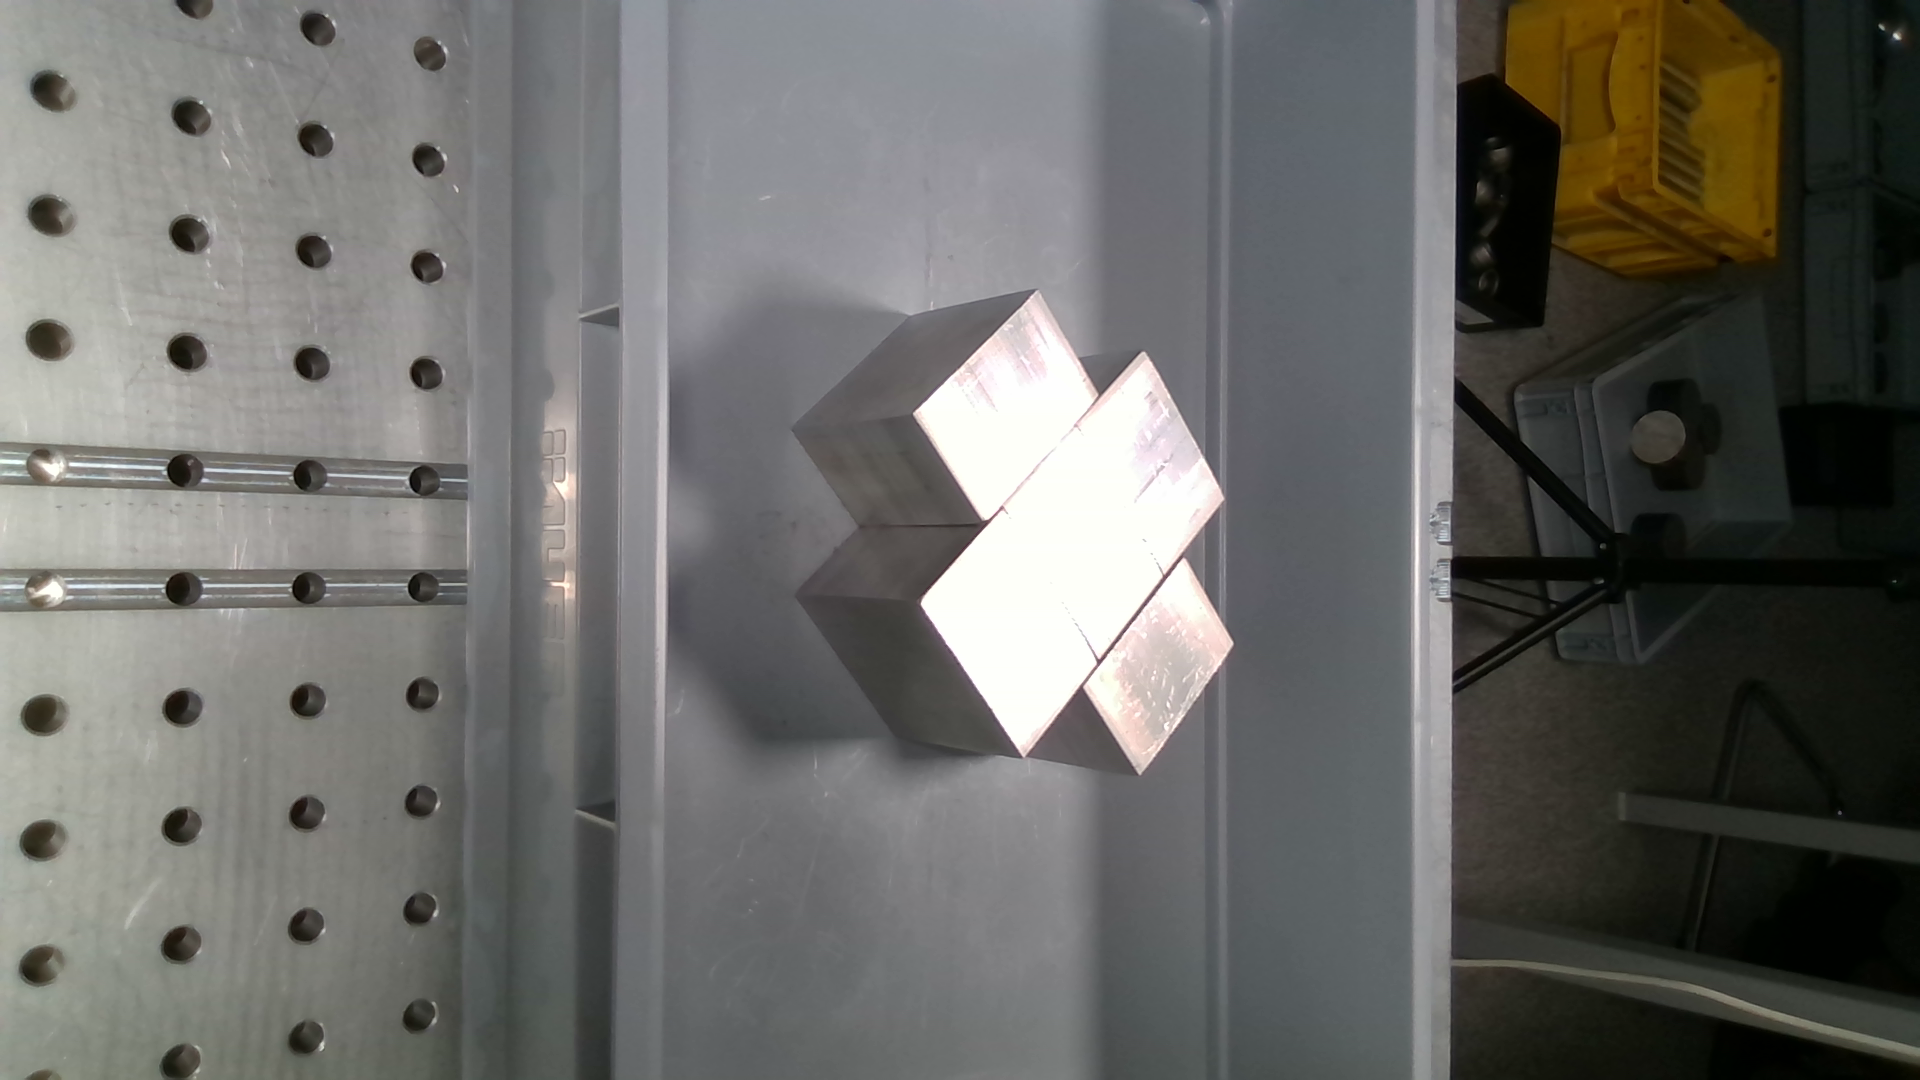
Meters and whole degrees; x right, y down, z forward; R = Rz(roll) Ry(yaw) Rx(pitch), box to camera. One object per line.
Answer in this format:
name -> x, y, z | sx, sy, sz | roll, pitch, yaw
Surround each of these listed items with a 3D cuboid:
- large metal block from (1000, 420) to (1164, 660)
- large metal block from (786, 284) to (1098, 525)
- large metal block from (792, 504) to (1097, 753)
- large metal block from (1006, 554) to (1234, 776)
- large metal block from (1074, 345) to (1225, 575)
large metal block -> 0.024, 0.000, 0.567 | 0.050, 0.080, 0.080 | -48, 119, -30
large metal block -> -0.007, -0.051, 0.541 | 0.080, 0.080, 0.050 | -49, 119, -29
large metal block -> -0.006, 0.033, 0.542 | 0.050, 0.080, 0.080 | -48, 119, -30
large metal block -> 0.057, 0.051, 0.595 | 0.080, 0.080, 0.050 | -49, 119, -29
large metal block -> 0.053, -0.032, 0.591 | 0.050, 0.080, 0.080 | -48, 119, -30
